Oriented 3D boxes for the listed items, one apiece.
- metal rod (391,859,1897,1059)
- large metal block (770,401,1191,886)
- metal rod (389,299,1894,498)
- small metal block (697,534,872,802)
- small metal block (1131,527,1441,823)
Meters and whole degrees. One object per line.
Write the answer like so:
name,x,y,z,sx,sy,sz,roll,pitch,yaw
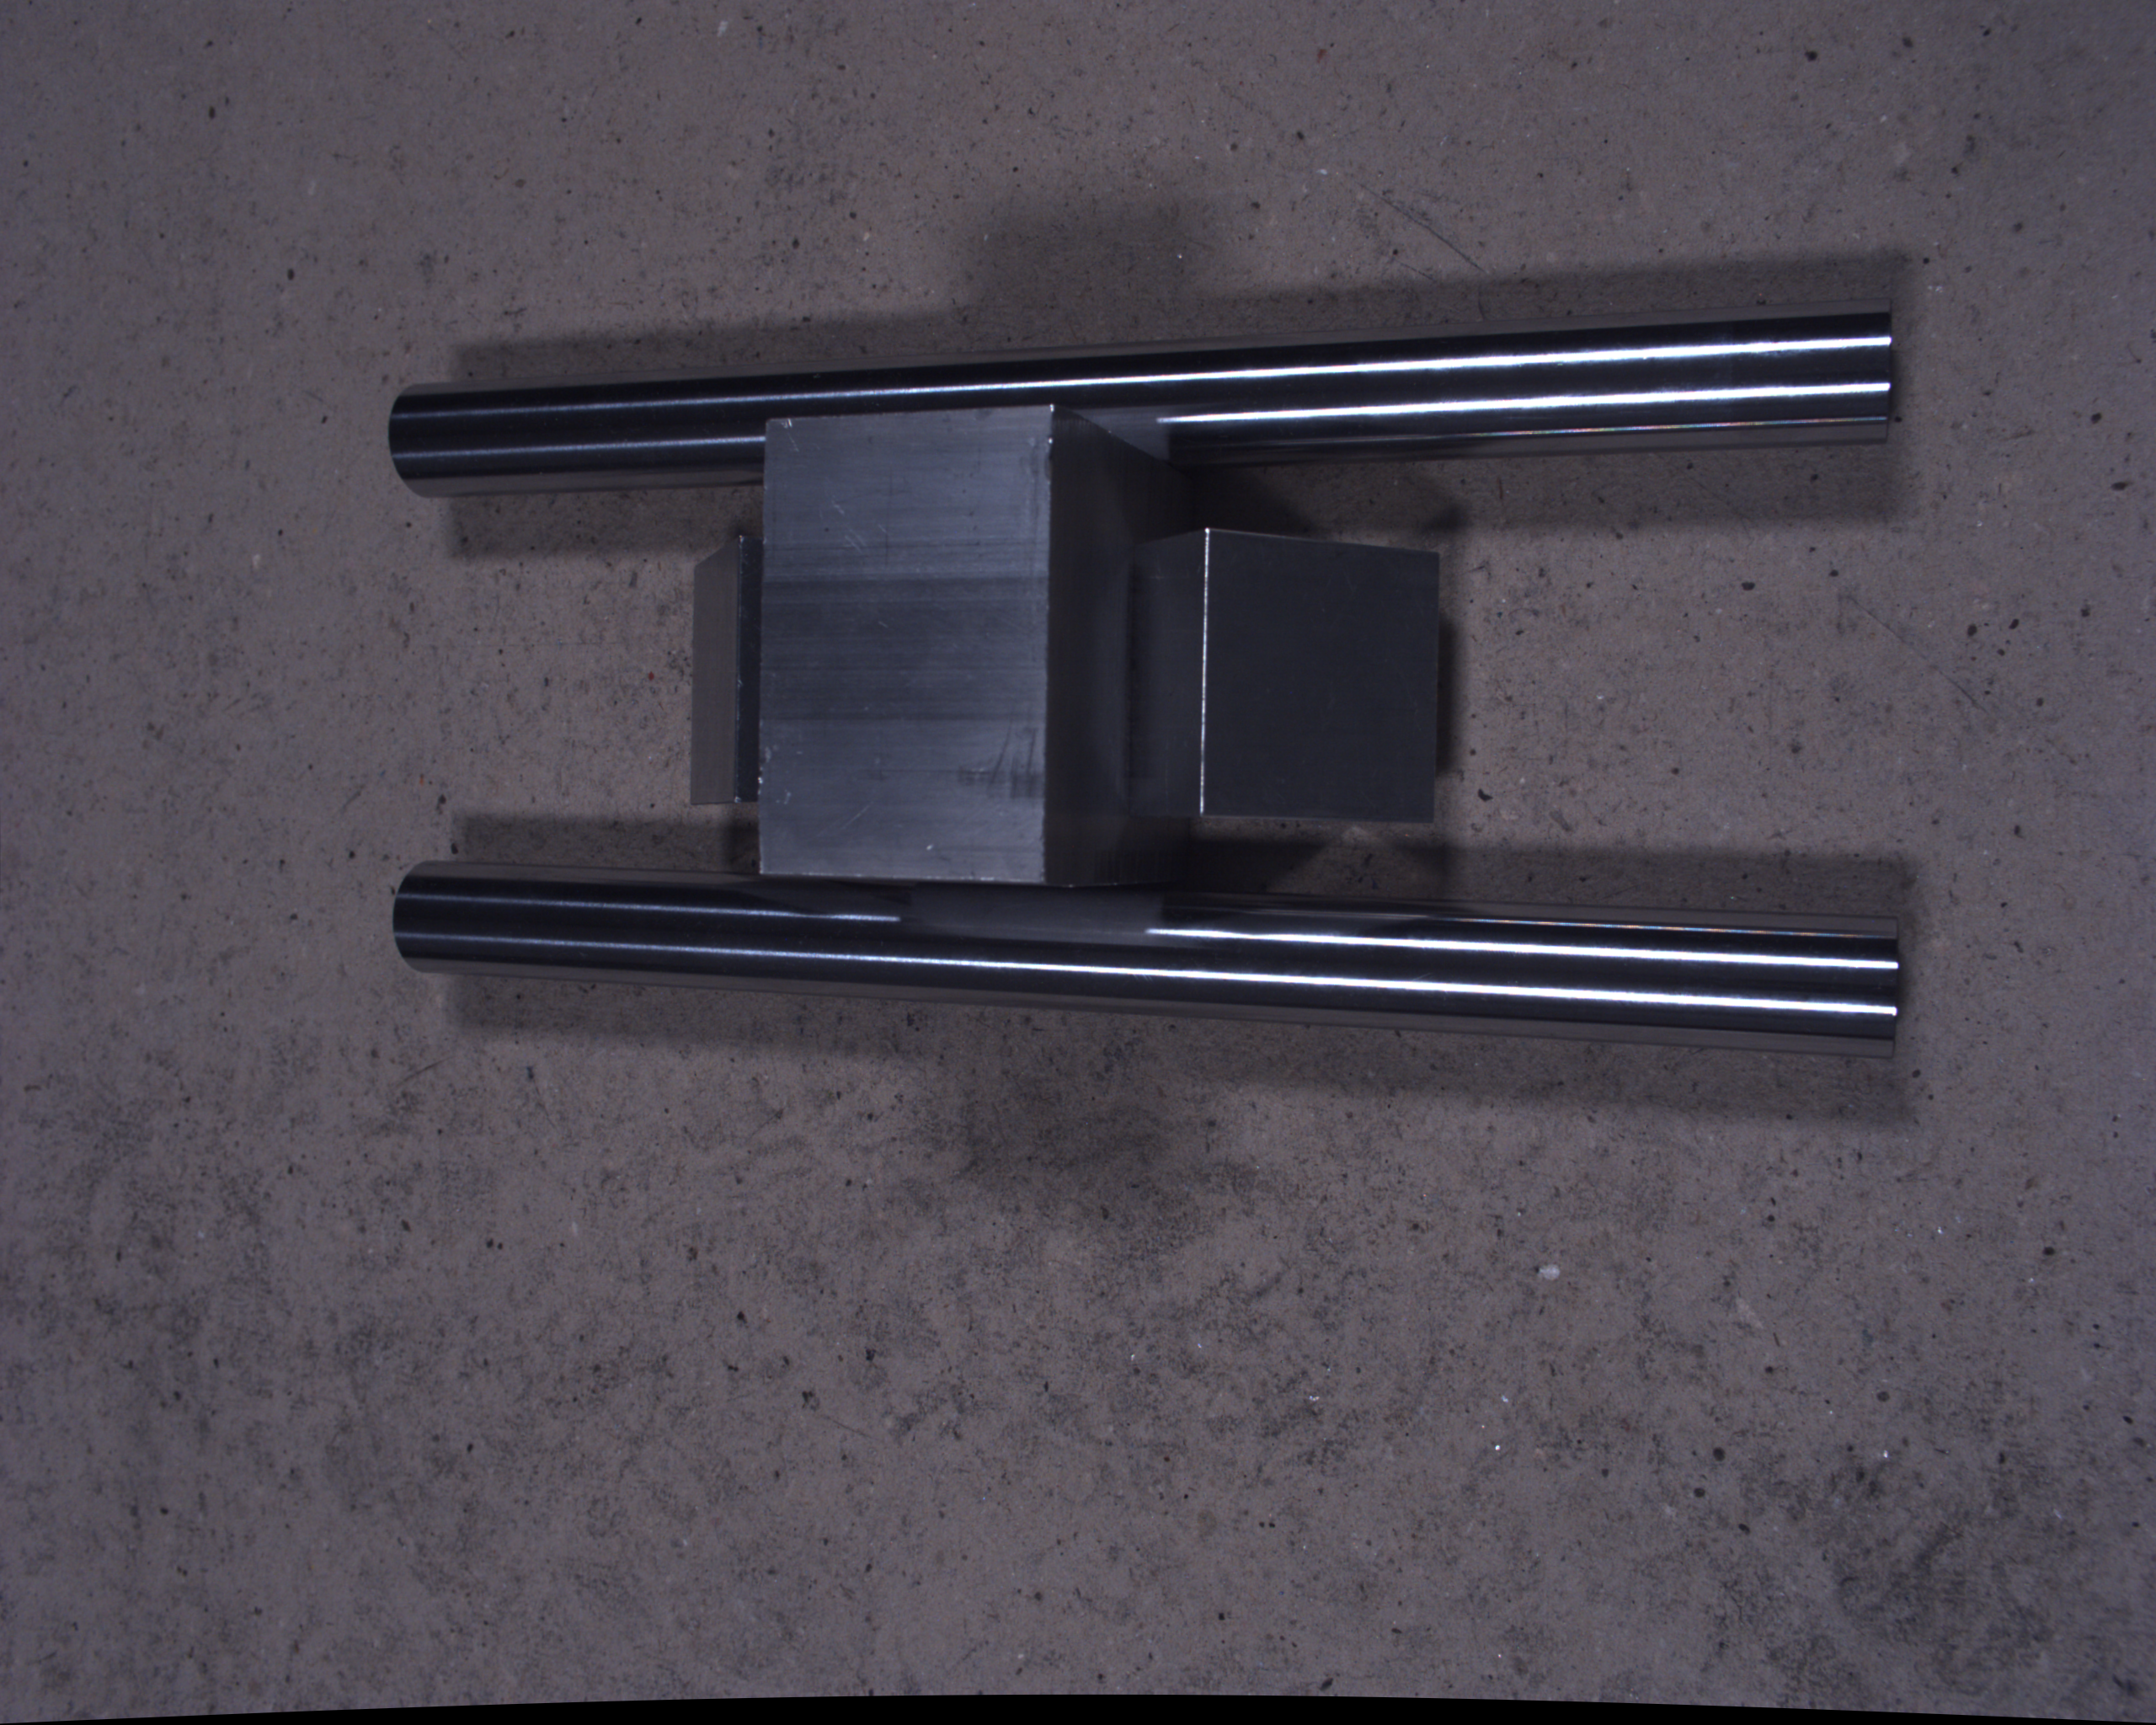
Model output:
metal rod,-0.001,0.017,0.410,0.301,0.025,0.025,2,91,19
large metal block,-0.015,-0.037,0.388,0.050,0.080,0.079,1,90,20
metal rod,-0.002,-0.089,0.410,0.301,0.025,0.025,2,91,19
small metal block,-0.059,-0.037,0.415,0.025,0.050,0.050,1,91,-20
small metal block,0.038,-0.033,0.381,0.025,0.050,0.050,1,90,61
